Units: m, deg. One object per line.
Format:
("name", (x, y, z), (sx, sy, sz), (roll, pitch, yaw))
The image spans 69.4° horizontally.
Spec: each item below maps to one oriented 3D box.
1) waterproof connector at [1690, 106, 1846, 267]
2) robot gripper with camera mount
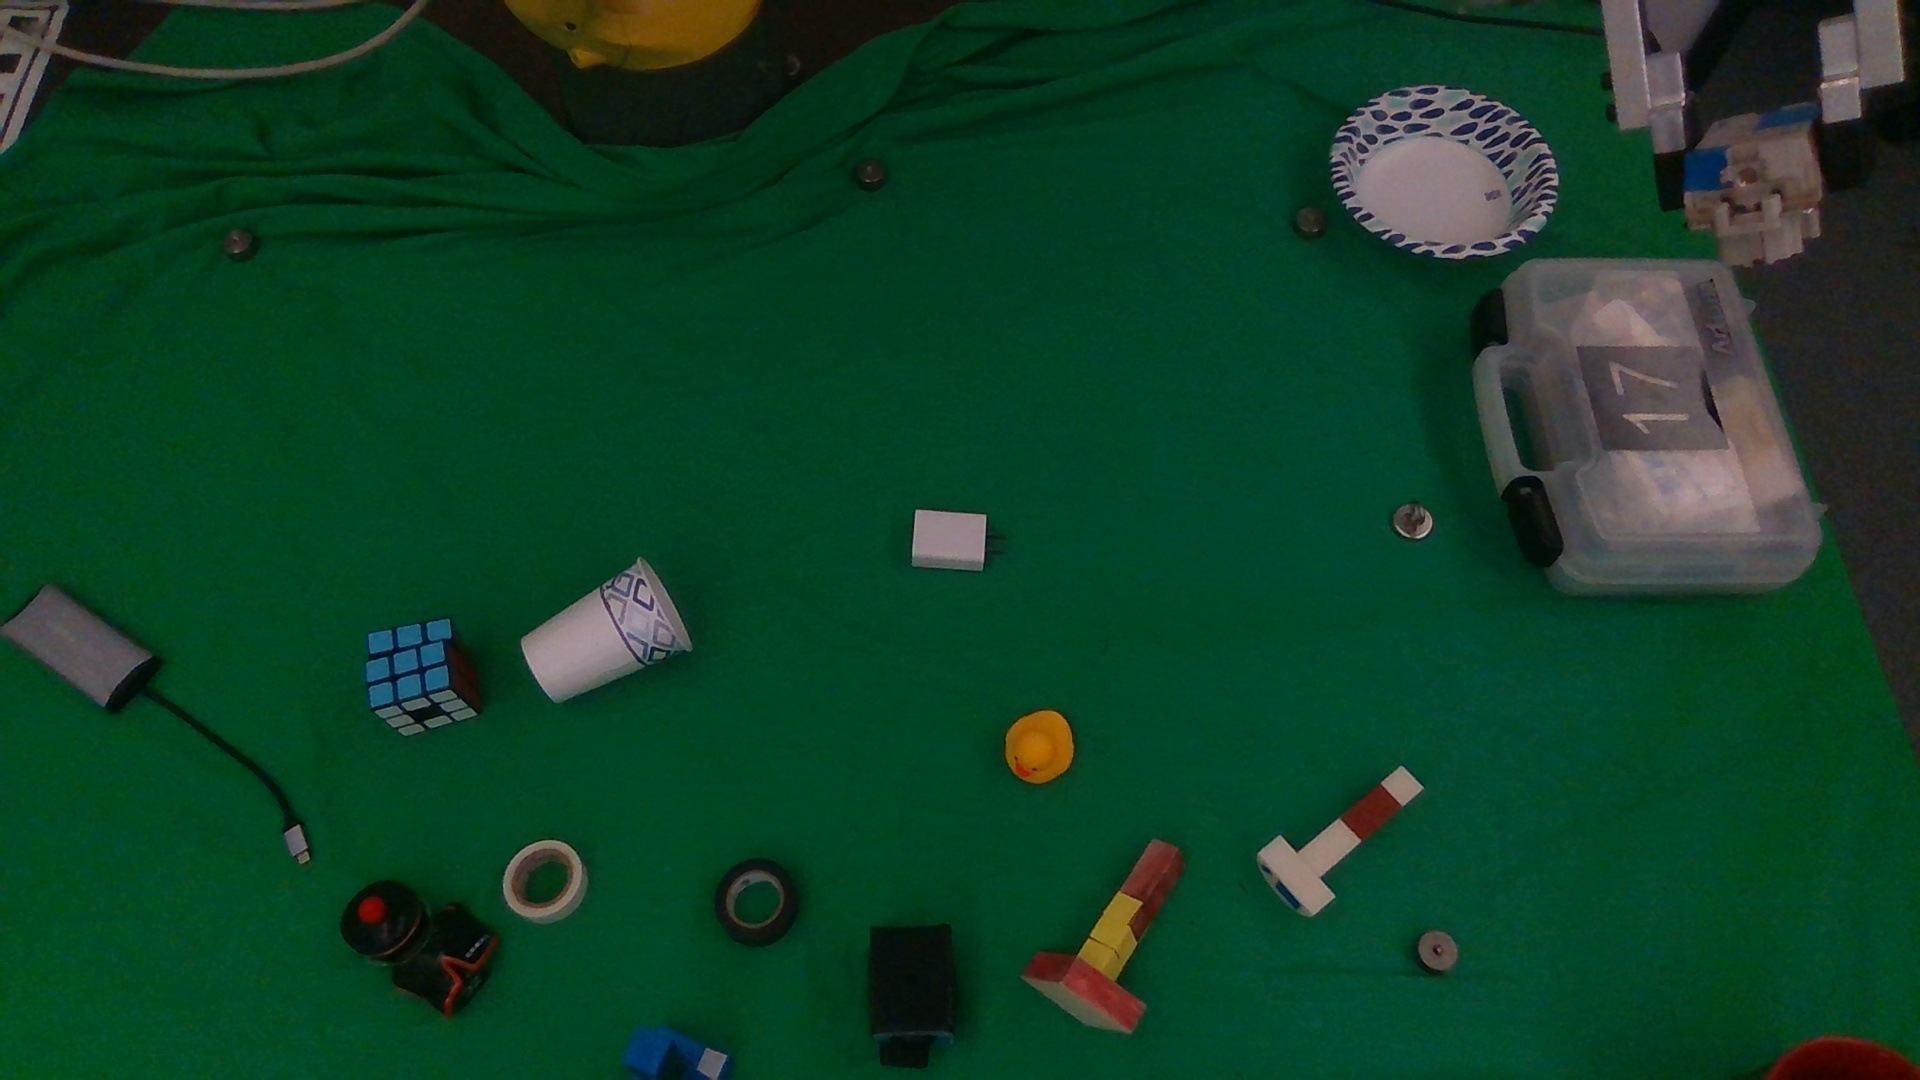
("waterproof connector", (0.243, -0.106, 0.417), (0.035, 0.037, 0.065), (-5, 21, 40))
("robot gripper with camera mount", (0.177, -0.136, 0.332), (0.119, 0.158, 0.193), (0, 27, 39))
